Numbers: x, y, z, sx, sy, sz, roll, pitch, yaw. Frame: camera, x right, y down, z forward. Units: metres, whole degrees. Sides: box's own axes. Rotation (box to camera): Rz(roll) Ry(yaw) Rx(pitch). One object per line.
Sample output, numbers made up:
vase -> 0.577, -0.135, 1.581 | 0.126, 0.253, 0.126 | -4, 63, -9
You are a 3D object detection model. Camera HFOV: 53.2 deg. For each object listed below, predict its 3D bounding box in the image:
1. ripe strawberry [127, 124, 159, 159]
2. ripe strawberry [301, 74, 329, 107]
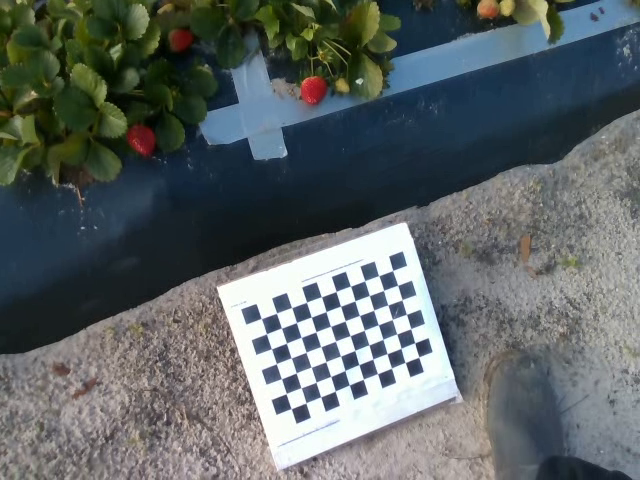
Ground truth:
ripe strawberry -> -0.113, -0.063, 0.402 | 0.018, 0.023, 0.021 | -27, -24, 5
ripe strawberry -> -0.004, -0.101, 0.432 | 0.023, 0.026, 0.021 | -10, -39, 11
